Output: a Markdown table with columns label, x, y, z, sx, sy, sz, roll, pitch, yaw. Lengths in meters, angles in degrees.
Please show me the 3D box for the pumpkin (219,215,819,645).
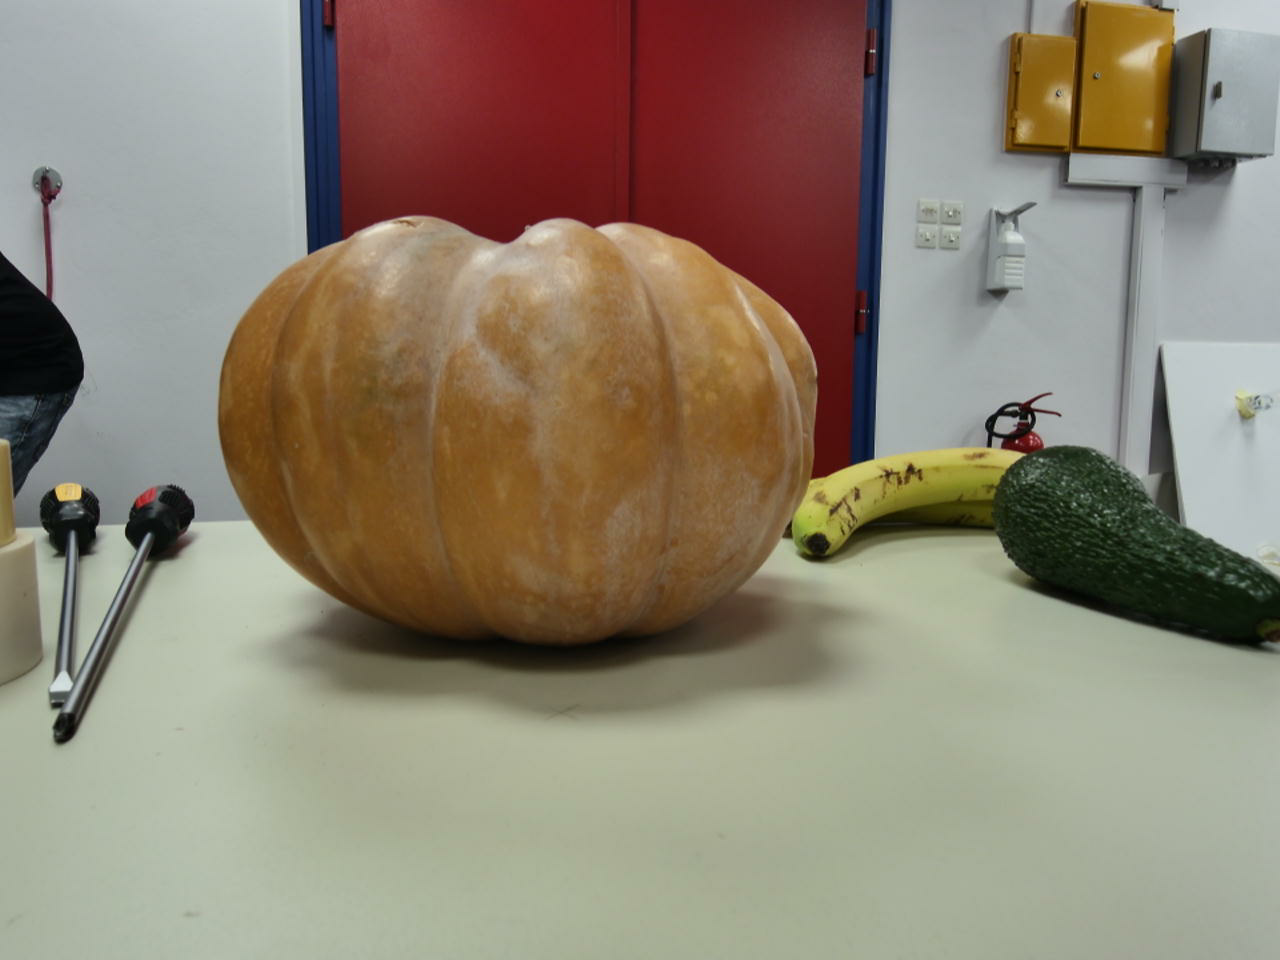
| label | x | y | z | sx | sy | sz | roll | pitch | yaw |
| --- | --- | --- | --- | --- | --- | --- | --- | --- | --- |
| pumpkin | -0.048 | -0.025 | 0.456 | 0.277 | 0.181 | 0.277 | 0 | 4 | 0 |
